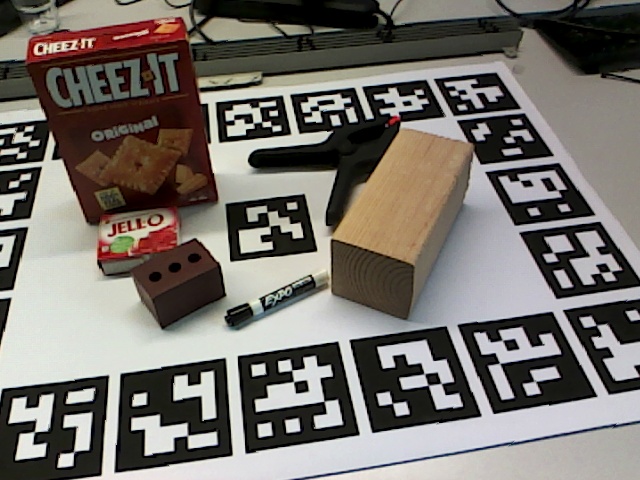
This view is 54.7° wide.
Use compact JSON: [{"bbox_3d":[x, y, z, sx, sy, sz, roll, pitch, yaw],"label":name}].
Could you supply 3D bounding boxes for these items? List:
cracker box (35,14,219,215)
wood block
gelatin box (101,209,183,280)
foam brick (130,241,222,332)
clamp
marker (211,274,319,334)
[{"bbox_3d":[-0.211,-0.137,0.714,0.164,0.213,0.072,-10,46,-9],"label":"cracker box"},{"bbox_3d":[0.090,-0.023,0.691,0.090,0.090,0.206,17,47,20],"label":"wood block"},{"bbox_3d":[-0.205,0.004,0.717,0.089,0.030,0.073,-9,49,-6],"label":"gelatin box"},{"bbox_3d":[-0.152,0.048,0.655,0.078,0.051,0.053,-28,54,-21],"label":"foam brick"},{"bbox_3d":[0.027,-0.110,0.806,0.202,0.036,0.166,-33,55,-25],"label":"clamp"},{"bbox_3d":[-0.058,0.067,0.654,0.121,0.019,0.020,-24,52,-19],"label":"marker"}]
